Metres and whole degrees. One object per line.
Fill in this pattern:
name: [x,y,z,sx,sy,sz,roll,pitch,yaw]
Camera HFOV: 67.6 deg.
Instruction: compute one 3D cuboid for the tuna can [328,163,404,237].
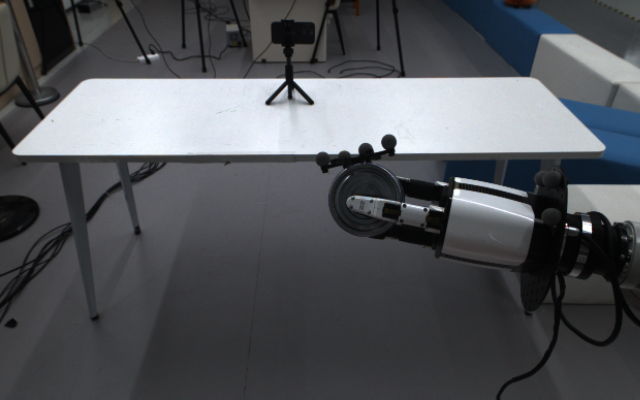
tuna can: [0.056,-0.003,0.559,0.085,0.085,0.034,12,3,14]
